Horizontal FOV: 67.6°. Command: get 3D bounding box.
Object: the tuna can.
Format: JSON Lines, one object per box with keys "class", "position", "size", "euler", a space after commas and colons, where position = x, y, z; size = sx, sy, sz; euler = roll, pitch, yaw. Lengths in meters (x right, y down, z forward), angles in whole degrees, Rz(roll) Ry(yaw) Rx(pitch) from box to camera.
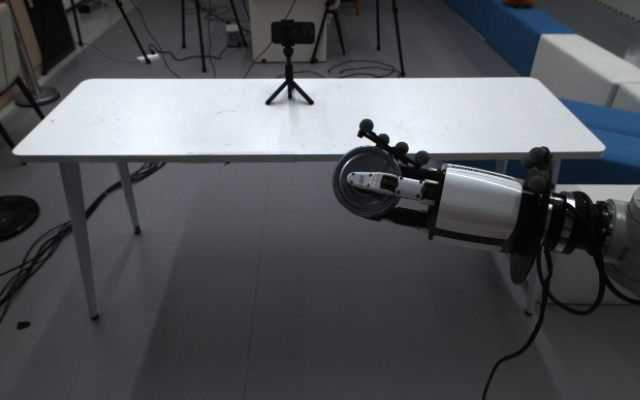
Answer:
{"class": "tuna can", "position": [0.063, -0.016, 0.589], "size": [0.085, 0.085, 0.034], "euler": [12, -4, 14]}
